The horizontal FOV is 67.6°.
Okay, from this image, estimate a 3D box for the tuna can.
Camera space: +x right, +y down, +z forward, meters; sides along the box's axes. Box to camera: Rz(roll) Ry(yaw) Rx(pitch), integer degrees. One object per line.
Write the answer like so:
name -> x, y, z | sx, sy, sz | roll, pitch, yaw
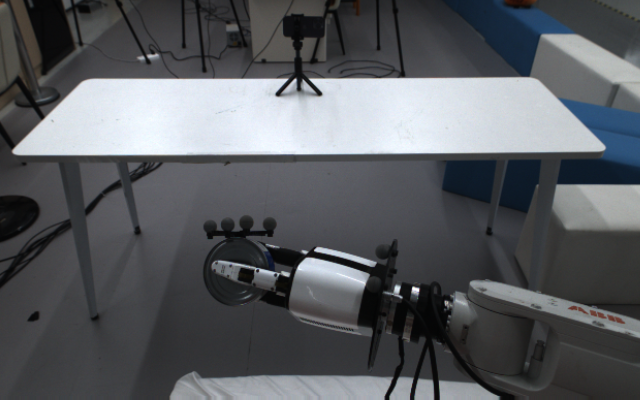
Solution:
tuna can -> -0.099, 0.095, 0.611 | 0.085, 0.085, 0.034 | 10, -6, 11
